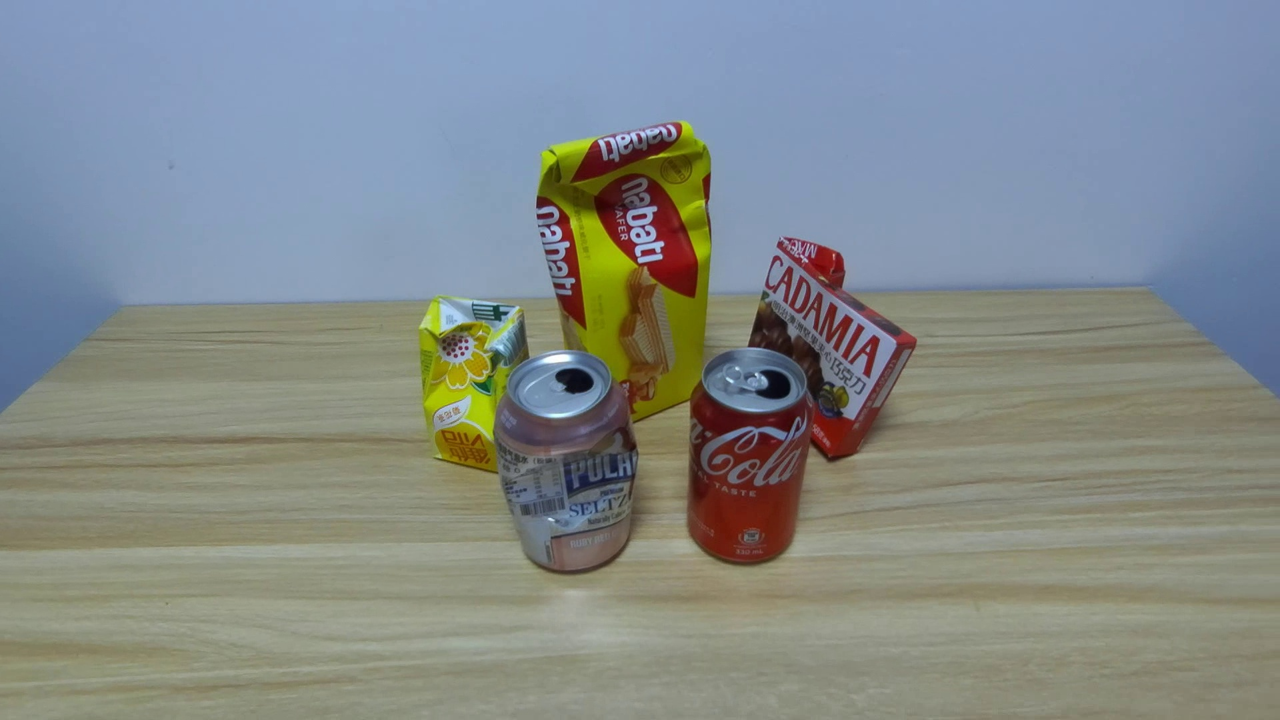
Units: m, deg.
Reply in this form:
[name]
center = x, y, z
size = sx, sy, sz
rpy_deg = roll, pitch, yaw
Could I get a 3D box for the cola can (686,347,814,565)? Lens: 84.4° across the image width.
[cola can]
center = 0.061, 0.054, 0.400
size = 0.068, 0.120, 0.067
rpy_deg = -1, 37, 1

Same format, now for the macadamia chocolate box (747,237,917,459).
[macadamia chocolate box]
center = 0.127, -0.011, 0.493
size = 0.056, 0.112, 0.126
rpy_deg = -12, 37, -18

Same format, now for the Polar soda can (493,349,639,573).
[Polar soda can]
center = -0.038, 0.059, 0.396
size = 0.074, 0.122, 0.067
rpy_deg = 10, 38, 16

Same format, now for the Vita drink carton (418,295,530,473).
[Vita drink carton]
center = -0.110, 0.018, 0.470
size = 0.071, 0.110, 0.046
rpy_deg = 9, 37, 14

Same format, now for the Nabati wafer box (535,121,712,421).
[Nabati wafer box]
center = -0.004, -0.049, 0.473
size = 0.113, 0.205, 0.042
rpy_deg = -20, 39, -21
